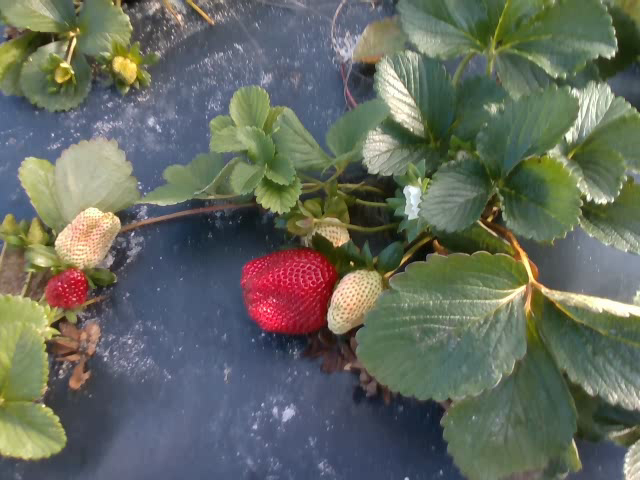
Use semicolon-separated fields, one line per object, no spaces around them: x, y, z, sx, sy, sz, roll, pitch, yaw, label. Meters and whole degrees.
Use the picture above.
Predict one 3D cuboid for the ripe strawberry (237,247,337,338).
-0.022;0.033;0.392;0.070;0.058;0.057;6;6;-33;ripe strawberry
